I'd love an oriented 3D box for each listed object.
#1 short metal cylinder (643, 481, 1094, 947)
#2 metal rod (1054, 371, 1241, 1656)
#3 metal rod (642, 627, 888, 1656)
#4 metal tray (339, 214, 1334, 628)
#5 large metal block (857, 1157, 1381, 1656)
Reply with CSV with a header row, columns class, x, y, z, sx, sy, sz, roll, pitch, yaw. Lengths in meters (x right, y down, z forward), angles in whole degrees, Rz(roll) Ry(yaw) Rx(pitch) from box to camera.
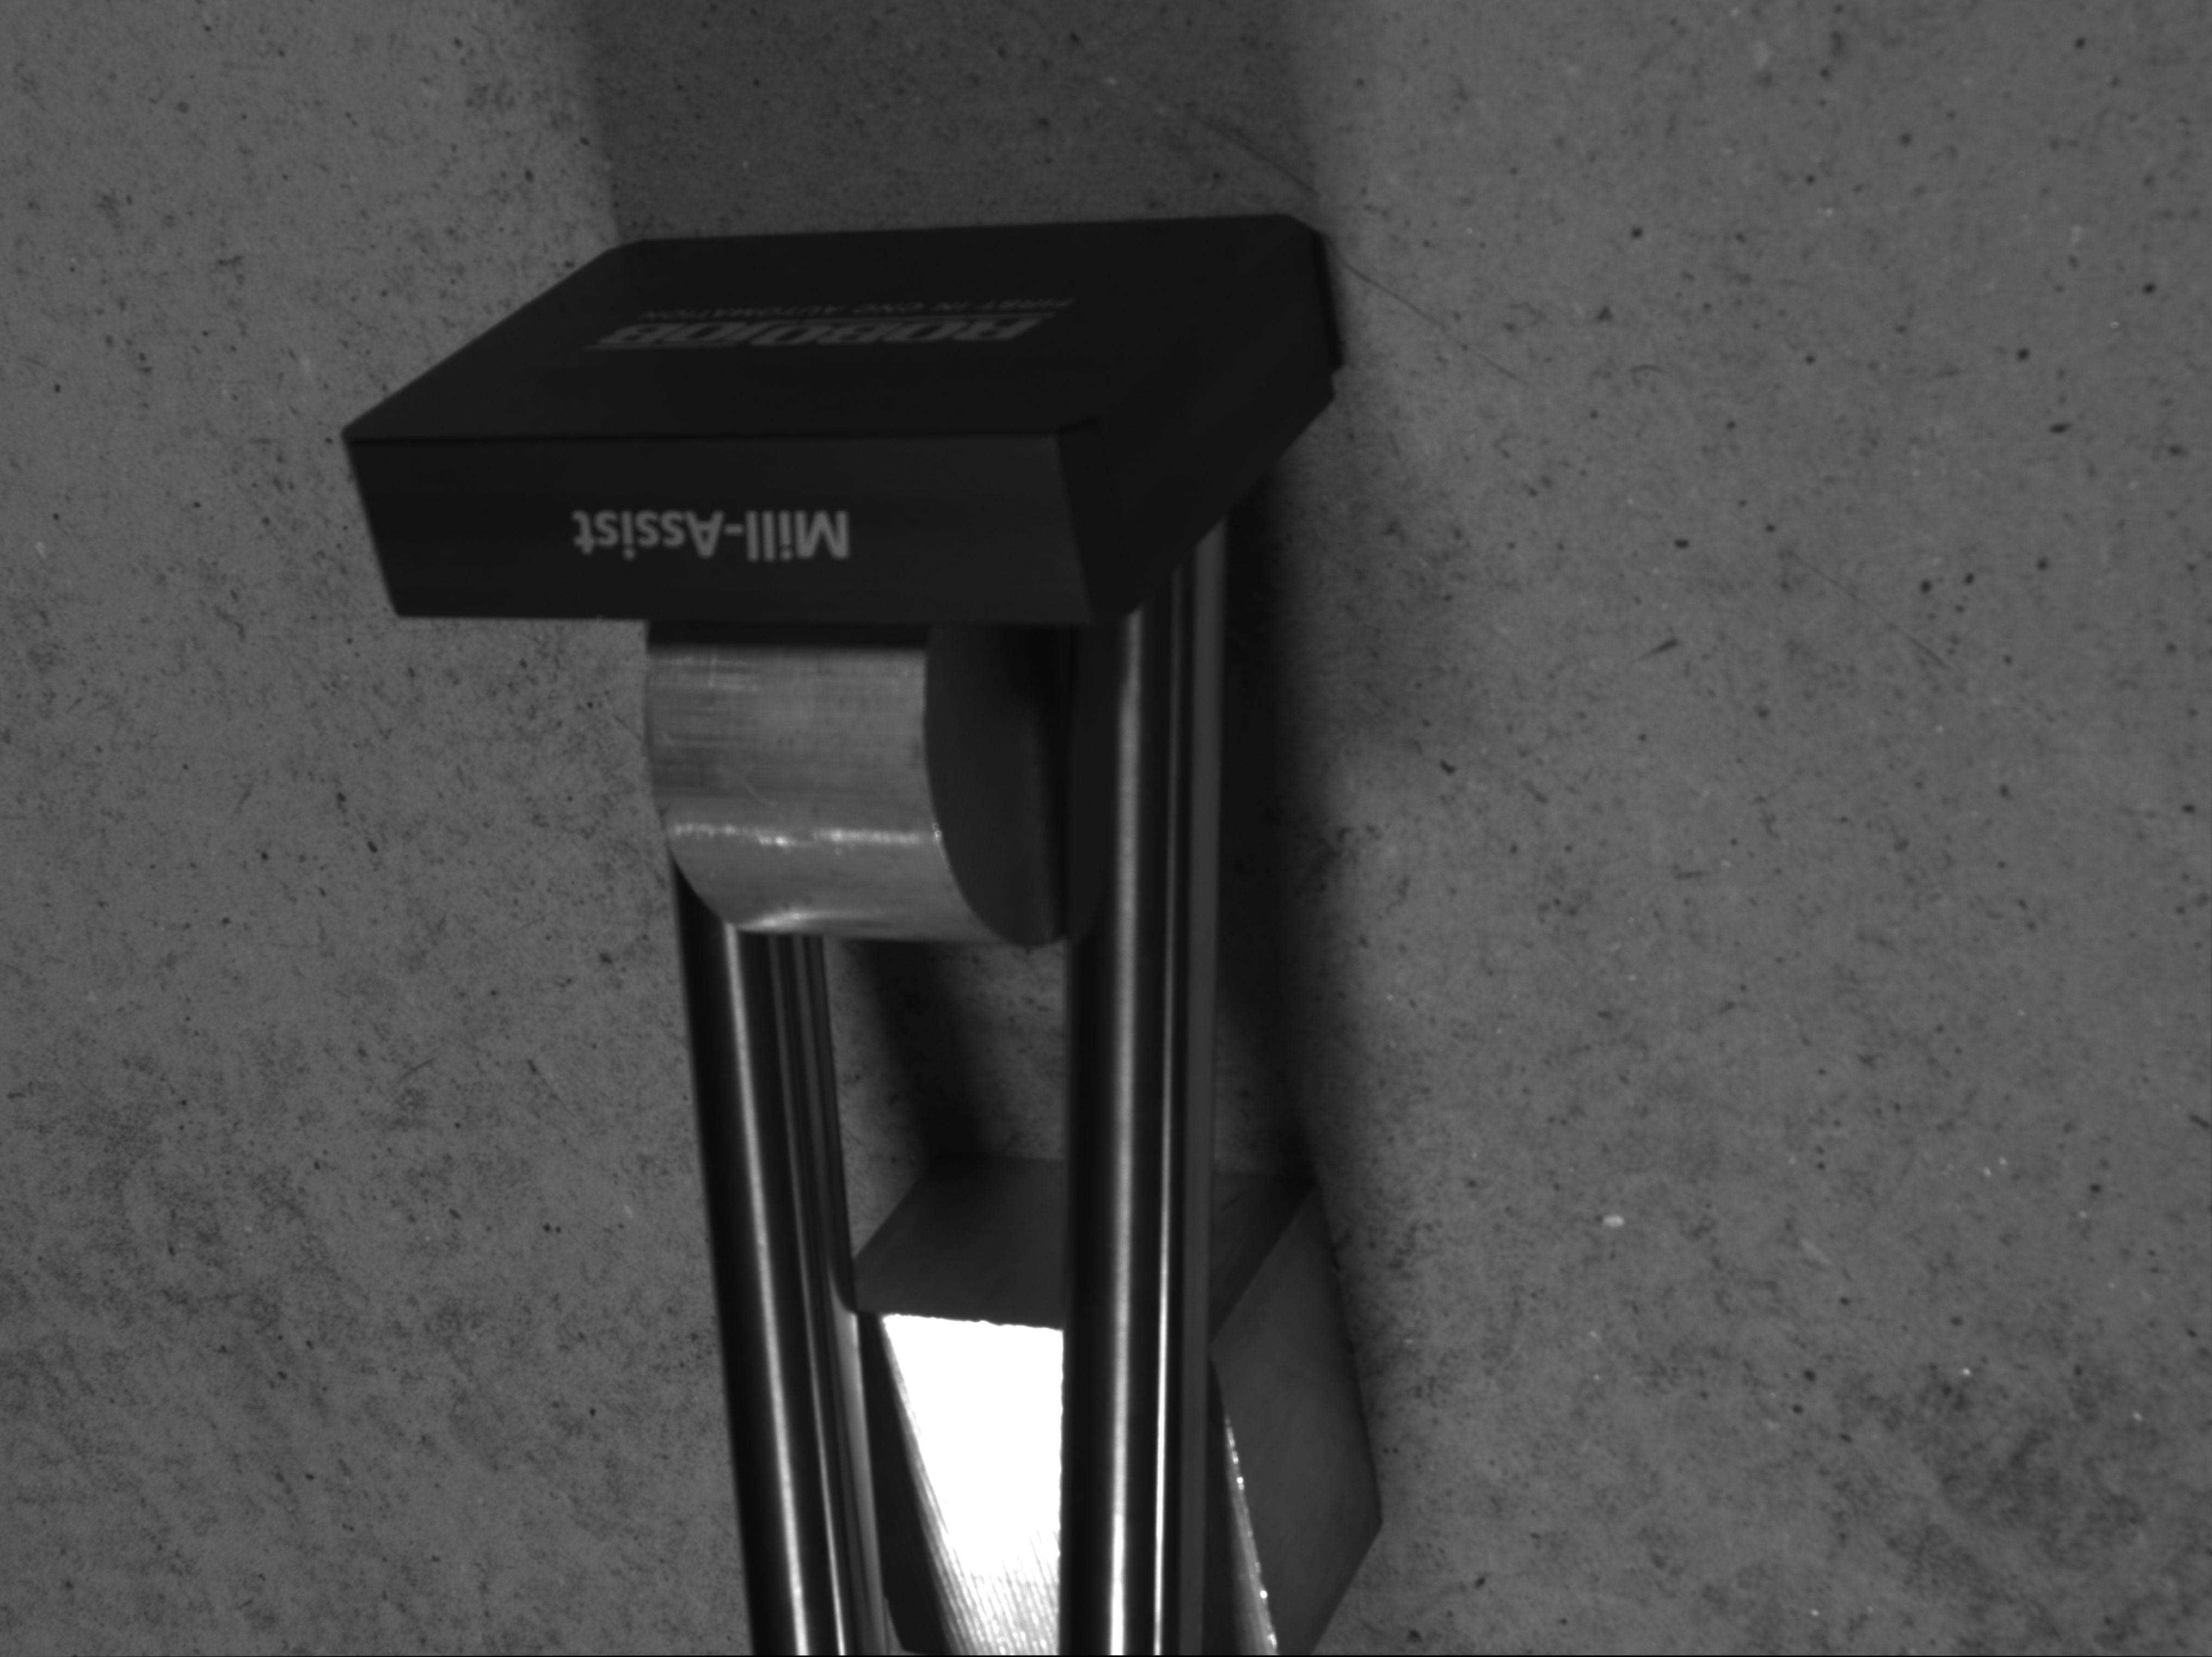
class,x,y,z,sx,sy,sz,roll,pitch,yaw
short metal cylinder,-0.033,-0.022,0.600,0.050,0.080,0.080,2,119,25
metal rod,0.005,0.073,0.613,0.025,0.025,0.300,8,107,23
metal rod,-0.058,0.069,0.644,0.025,0.025,0.300,2,104,26
metal tray,-0.041,-0.064,0.571,0.130,0.090,0.030,2,119,26
large metal block,-0.001,0.111,0.680,0.080,0.050,0.080,2,119,26
